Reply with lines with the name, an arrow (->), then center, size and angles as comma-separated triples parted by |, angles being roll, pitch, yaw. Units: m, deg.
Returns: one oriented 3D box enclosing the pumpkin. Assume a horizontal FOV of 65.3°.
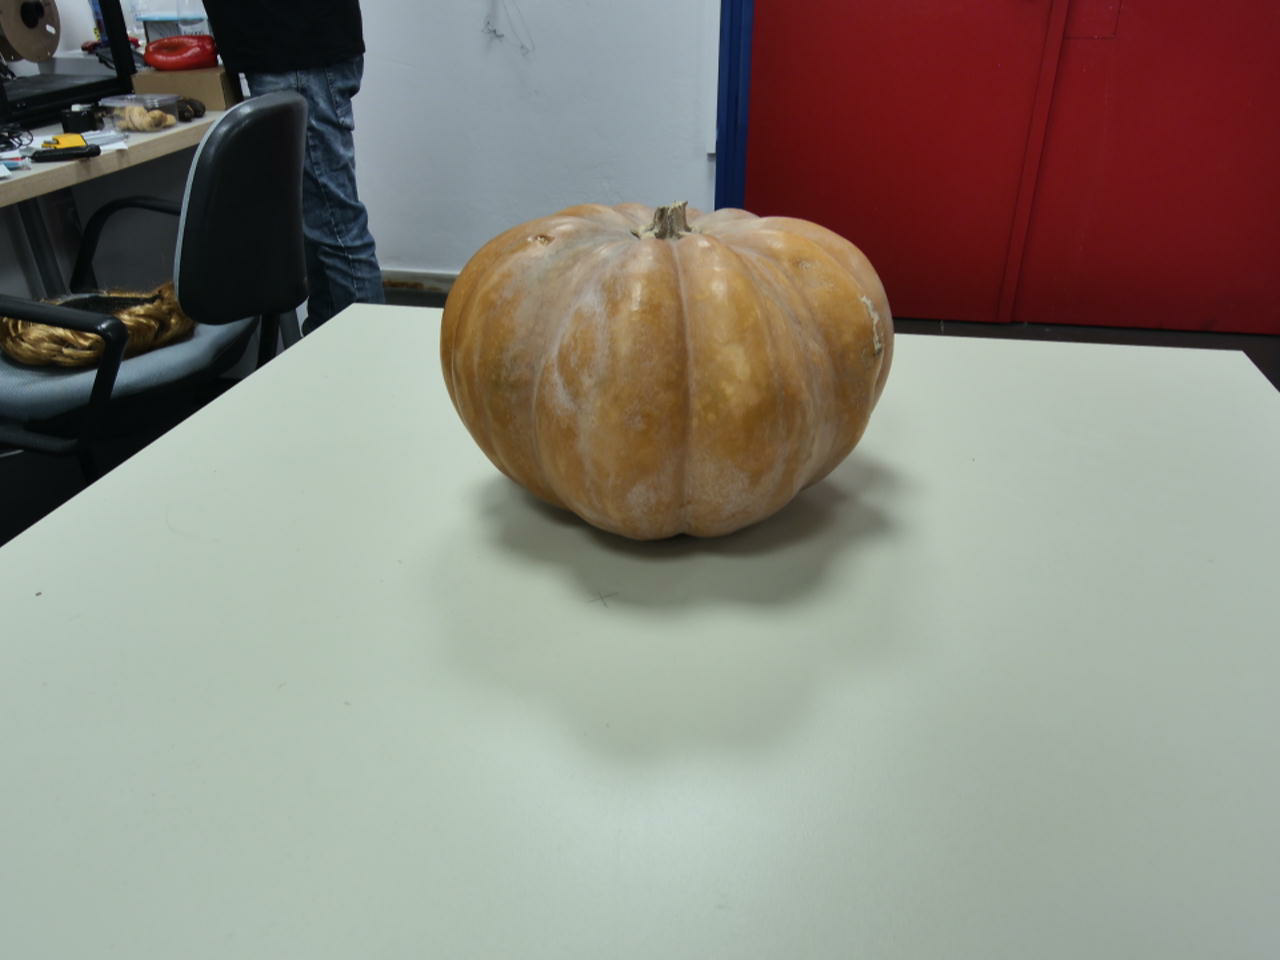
pumpkin -> 0.014, -0.075, 0.604 | 0.277, 0.181, 0.277 | 0, 26, 0
